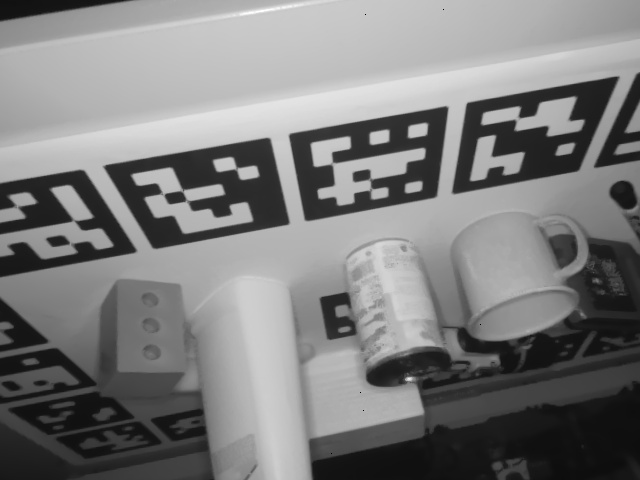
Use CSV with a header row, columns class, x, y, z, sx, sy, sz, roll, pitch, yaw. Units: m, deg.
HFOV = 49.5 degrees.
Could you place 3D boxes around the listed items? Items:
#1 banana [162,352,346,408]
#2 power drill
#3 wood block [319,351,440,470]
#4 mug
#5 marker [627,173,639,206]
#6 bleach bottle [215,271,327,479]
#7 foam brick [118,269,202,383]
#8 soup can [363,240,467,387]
class,x,y,z,sx,sy,sz,roll,pitch,yaw
banana,-0.073,0.136,0.692,0.199,0.039,0.073,1,129,-12
power drill,0.239,0.086,0.706,0.186,0.058,0.184,10,141,-22
wood block,0.019,0.190,0.754,0.206,0.091,0.089,-11,143,0
mug,0.179,0.026,0.576,0.094,0.082,0.115,21,131,-33
marker,0.289,-0.023,0.597,0.019,0.020,0.122,-31,139,22
bleach bottle,-0.035,0.153,0.549,0.069,0.252,0.101,8,141,-24
foam brick,-0.130,0.070,0.562,0.053,0.078,0.050,10,142,-29
soup can,0.075,0.060,0.568,0.068,0.102,0.067,-6,148,-3
